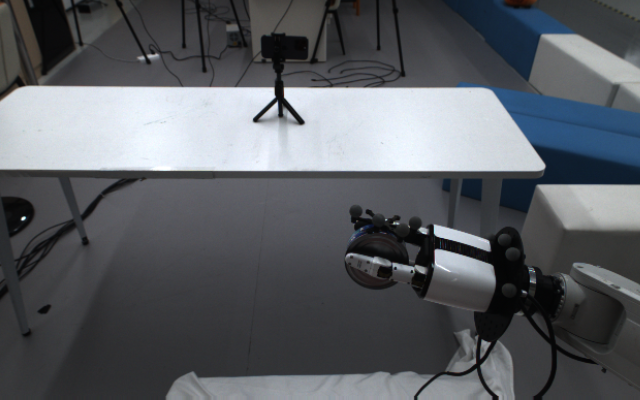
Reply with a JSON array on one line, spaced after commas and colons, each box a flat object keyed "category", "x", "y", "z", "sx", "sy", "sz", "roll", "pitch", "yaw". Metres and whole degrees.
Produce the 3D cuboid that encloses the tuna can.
[{"category": "tuna can", "x": 0.078, "y": 0.074, "z": 0.659, "sx": 0.085, "sy": 0.085, "sz": 0.034, "roll": 5, "pitch": 18, "yaw": 4}]
